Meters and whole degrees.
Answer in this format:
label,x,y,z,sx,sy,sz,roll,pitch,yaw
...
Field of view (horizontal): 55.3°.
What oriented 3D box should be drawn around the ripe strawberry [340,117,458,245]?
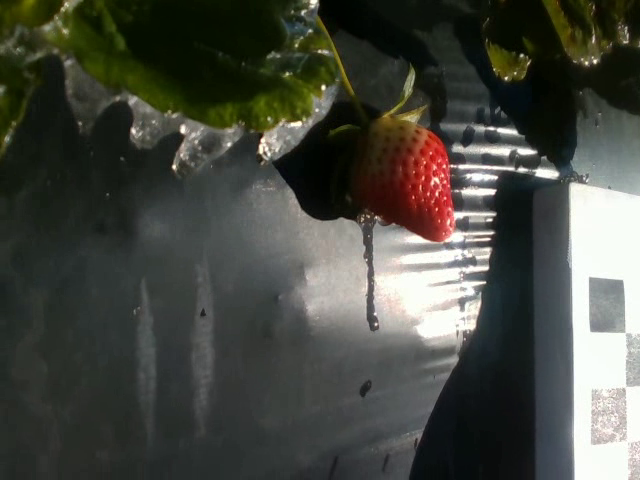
label,x,y,z,sx,sy,sz,roll,pitch,yaw
ripe strawberry,0.032,-0.019,0.211,0.039,0.053,0.040,-20,-11,-29
